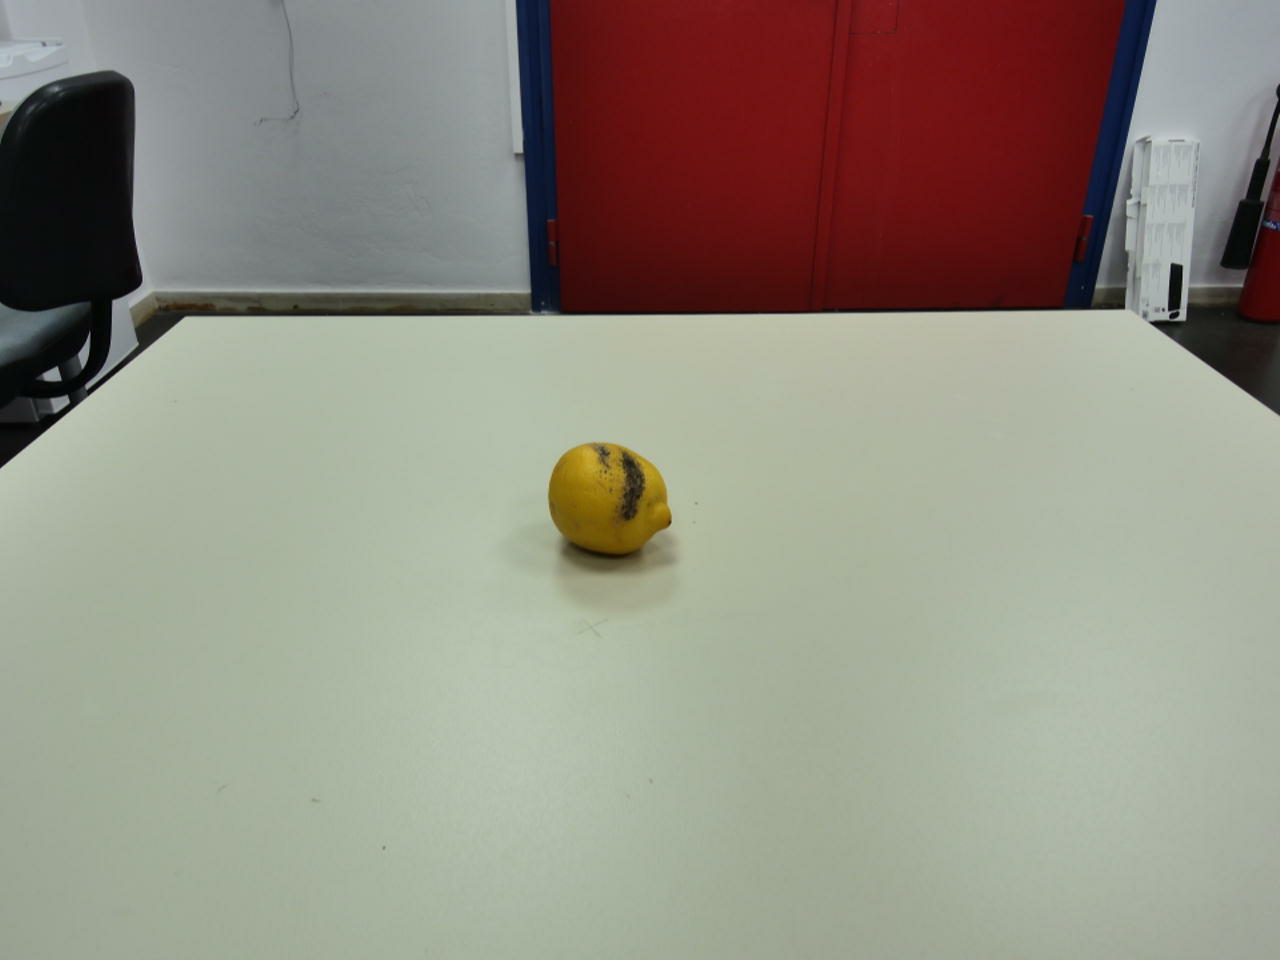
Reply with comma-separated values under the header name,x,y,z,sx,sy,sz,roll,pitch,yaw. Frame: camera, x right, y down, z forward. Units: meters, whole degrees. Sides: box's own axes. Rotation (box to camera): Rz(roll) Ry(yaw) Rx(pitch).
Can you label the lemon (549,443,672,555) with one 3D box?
name,x,y,z,sx,sy,sz,roll,pitch,yaw
lemon,-0.017,0.009,0.515,0.061,0.056,0.058,-5,26,-7
